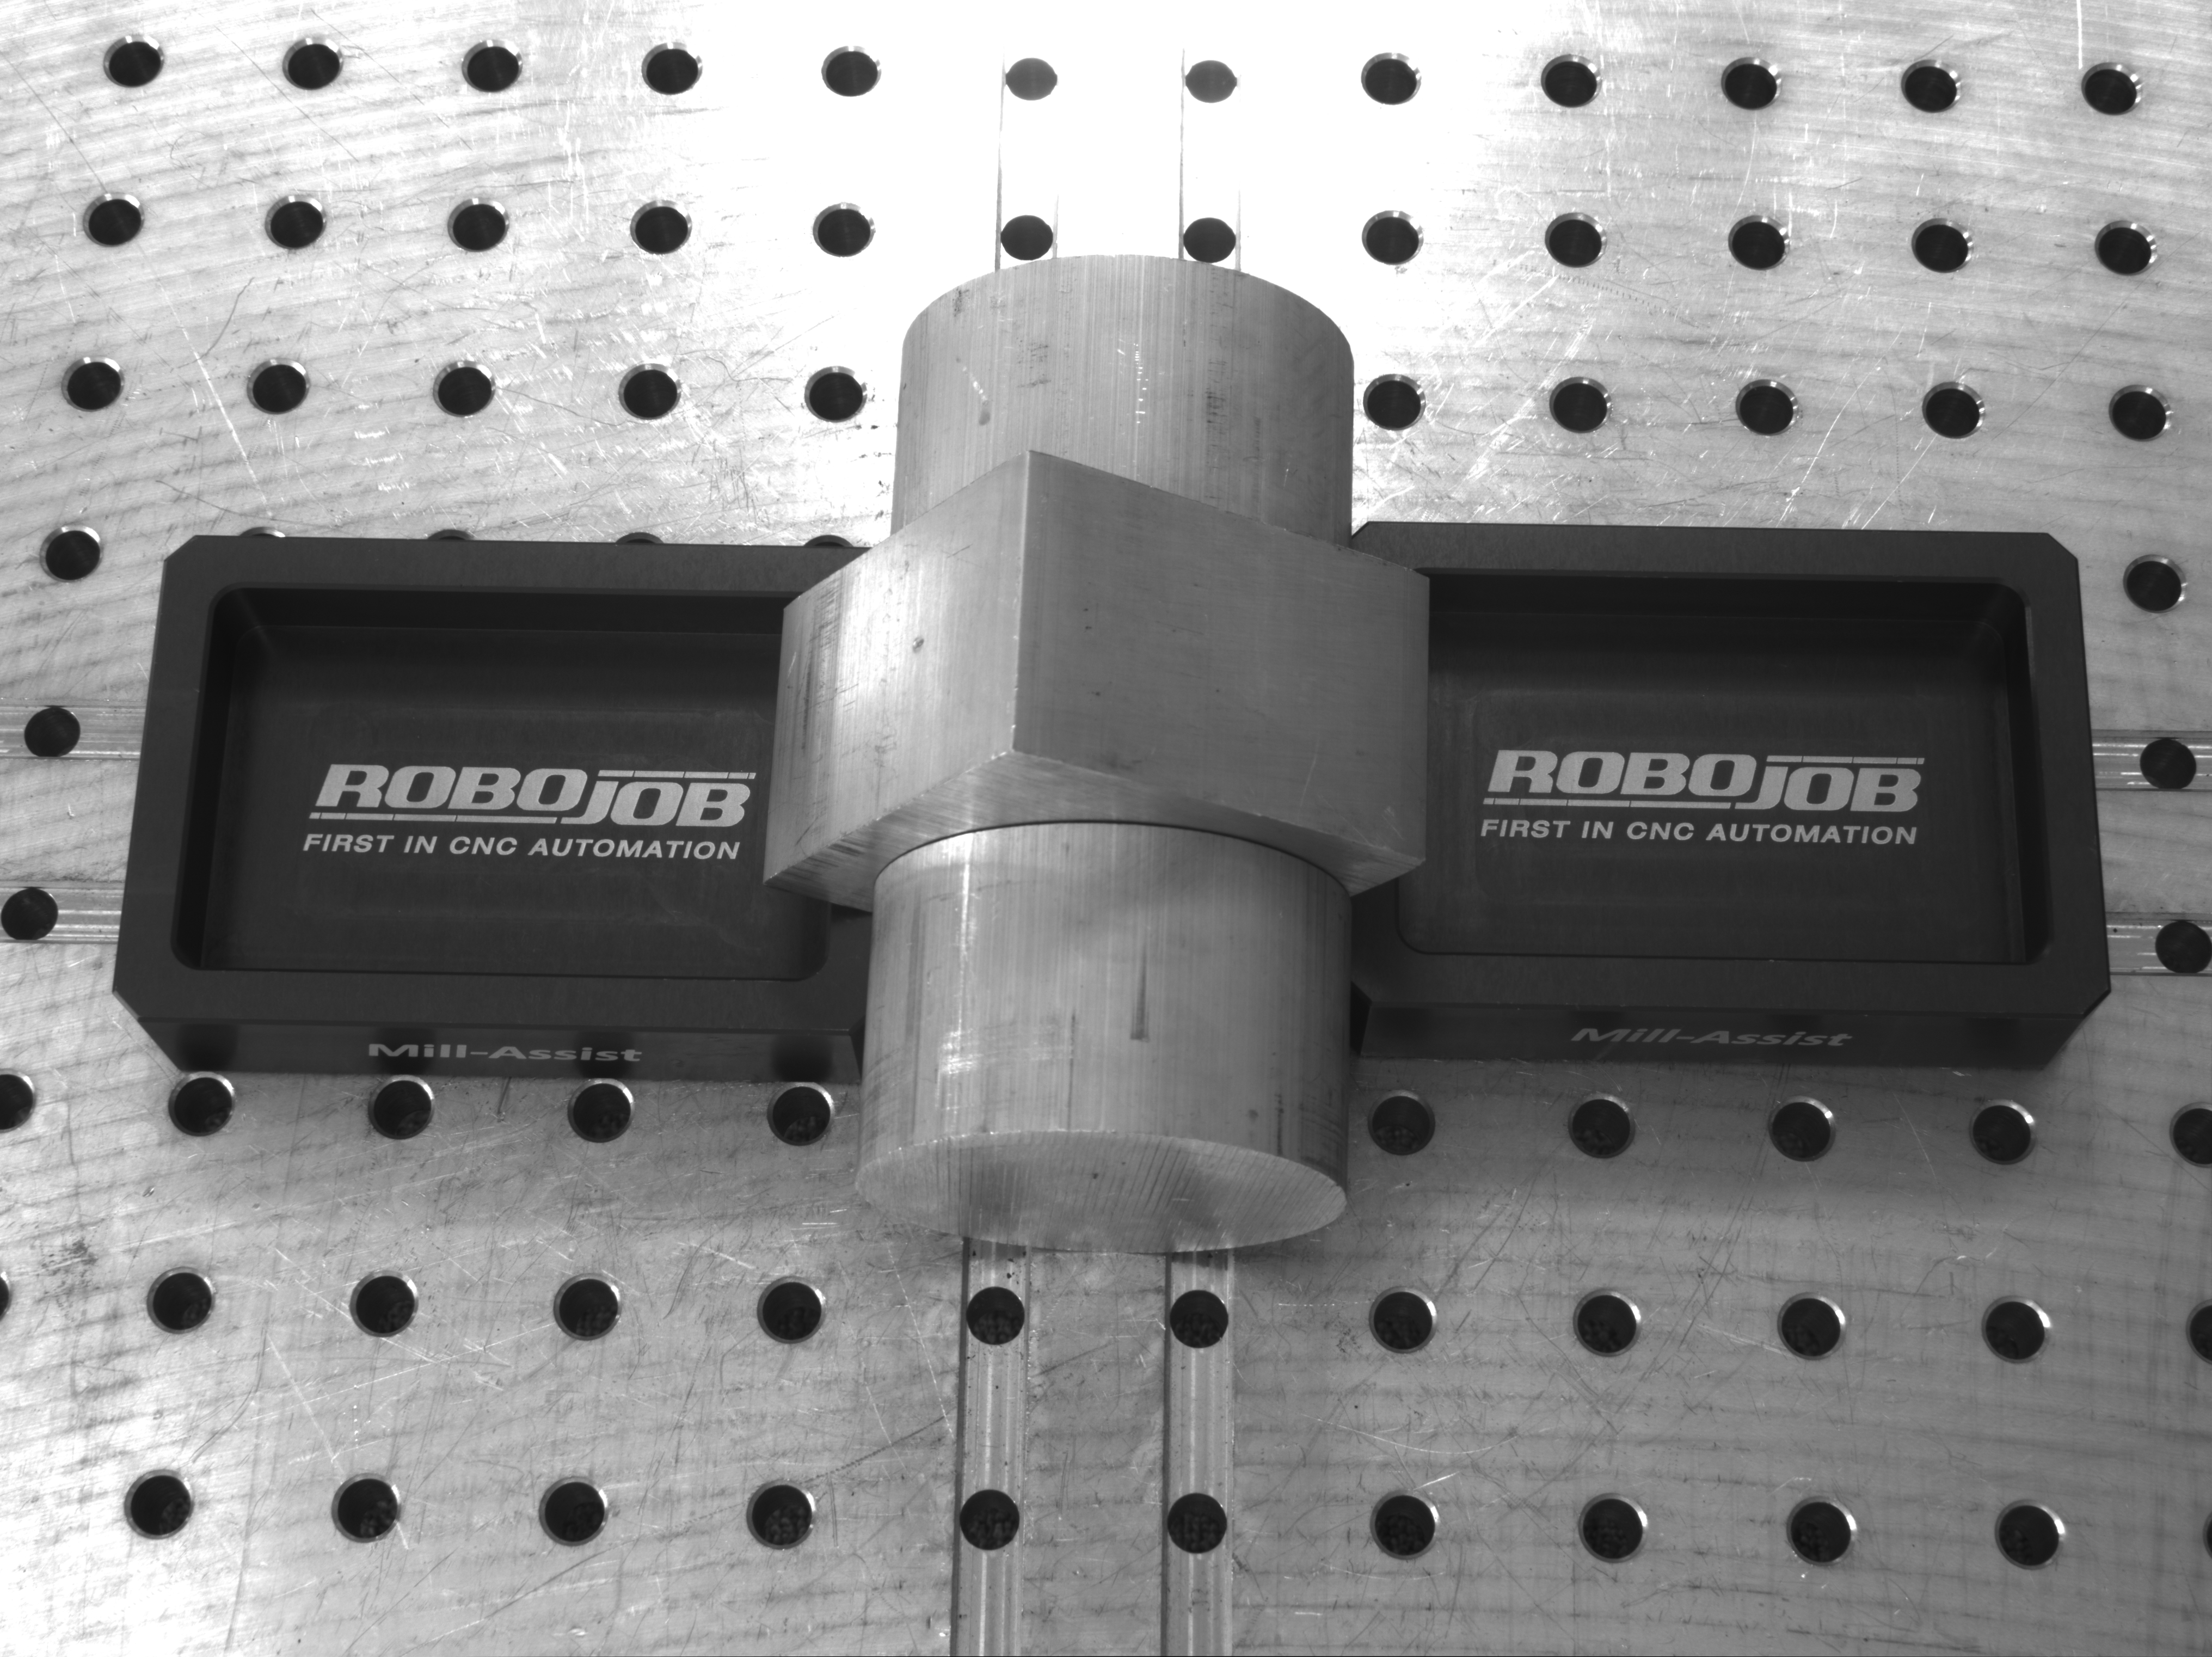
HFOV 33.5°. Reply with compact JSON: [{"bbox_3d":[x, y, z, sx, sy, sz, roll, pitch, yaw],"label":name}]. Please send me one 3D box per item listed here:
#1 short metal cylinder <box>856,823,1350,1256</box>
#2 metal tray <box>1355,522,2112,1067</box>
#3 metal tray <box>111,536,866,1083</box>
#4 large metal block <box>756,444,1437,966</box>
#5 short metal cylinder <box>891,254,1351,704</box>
[{"bbox_3d":[0.000,0.036,0.605,0.080,0.080,0.050,2,70,1],"label":"short metal cylinder"},{"bbox_3d":[0.106,-0.006,0.647,0.130,0.030,0.090,1,70,0],"label":"metal tray"},{"bbox_3d":[-0.102,-0.004,0.646,0.130,0.030,0.090,1,70,0],"label":"metal tray"},{"bbox_3d":[-0.002,-0.016,0.609,0.080,0.080,0.050,15,66,-31],"label":"large metal block"},{"bbox_3d":[0.003,-0.058,0.640,0.080,0.080,0.050,1,70,1],"label":"short metal cylinder"}]
